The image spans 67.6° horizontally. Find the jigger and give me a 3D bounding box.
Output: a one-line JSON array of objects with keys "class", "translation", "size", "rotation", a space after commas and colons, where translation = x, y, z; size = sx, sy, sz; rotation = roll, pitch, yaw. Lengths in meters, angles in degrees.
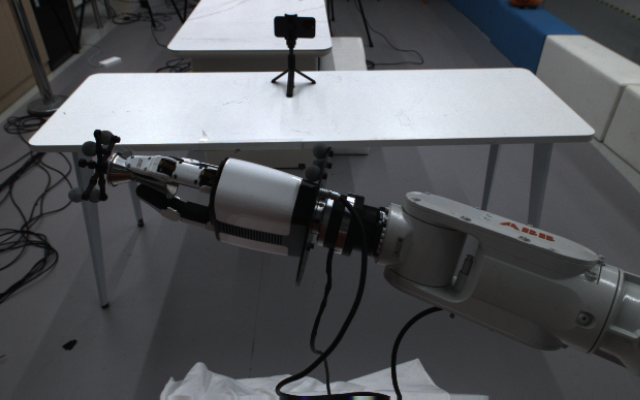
[{"class": "jigger", "translation": [-0.192, -0.030, 0.548], "size": [0.071, 0.043, 0.043], "rotation": [10, 35, 1]}]
